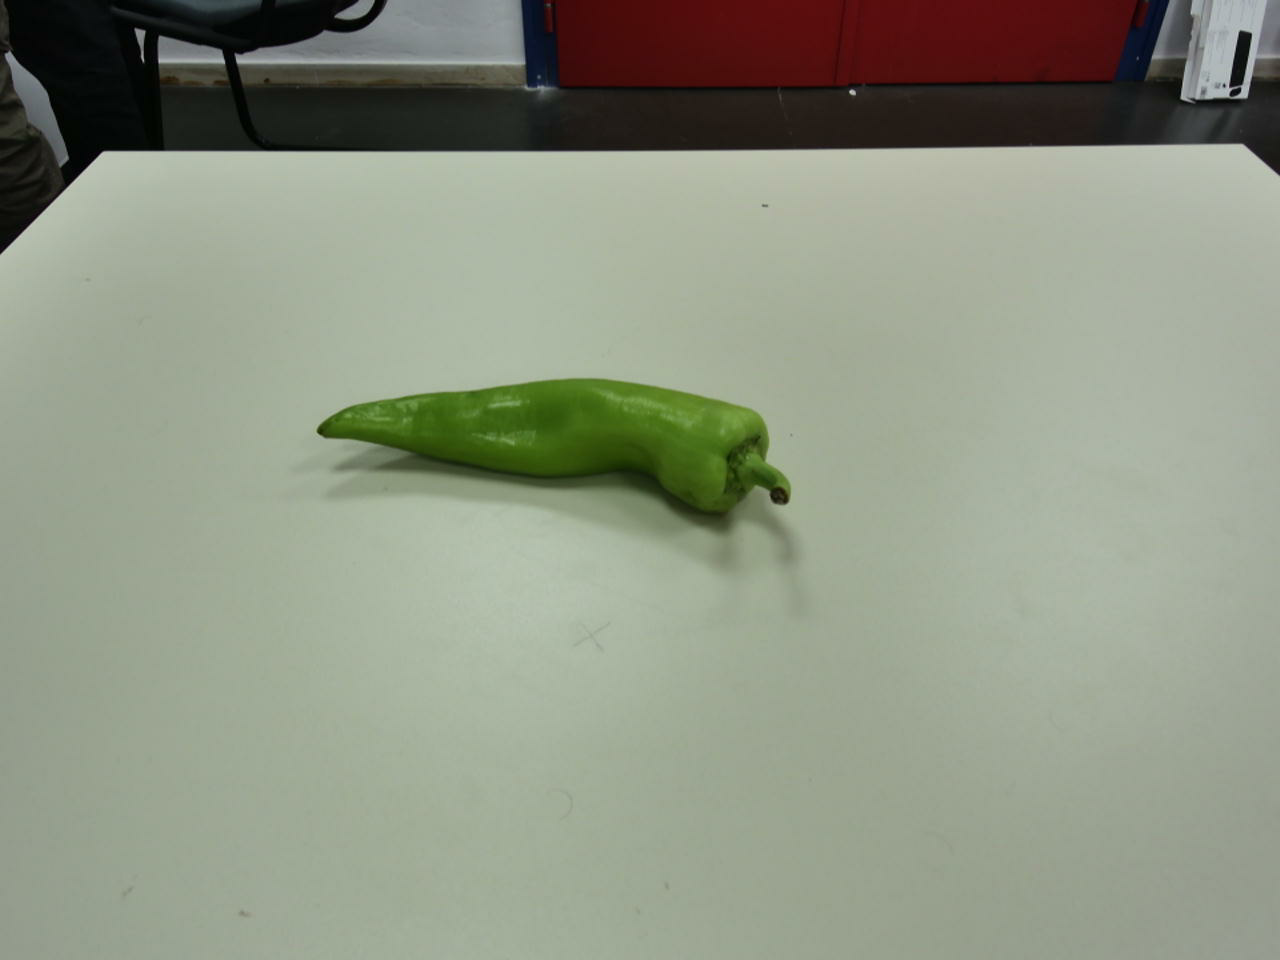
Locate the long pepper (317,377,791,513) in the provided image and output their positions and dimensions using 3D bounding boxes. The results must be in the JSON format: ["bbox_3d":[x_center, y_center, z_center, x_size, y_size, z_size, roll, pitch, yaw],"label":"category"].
[{"bbox_3d":[-0.032,-0.021,0.435,0.205,0.045,0.065,10,40,13],"label":"long pepper"}]
